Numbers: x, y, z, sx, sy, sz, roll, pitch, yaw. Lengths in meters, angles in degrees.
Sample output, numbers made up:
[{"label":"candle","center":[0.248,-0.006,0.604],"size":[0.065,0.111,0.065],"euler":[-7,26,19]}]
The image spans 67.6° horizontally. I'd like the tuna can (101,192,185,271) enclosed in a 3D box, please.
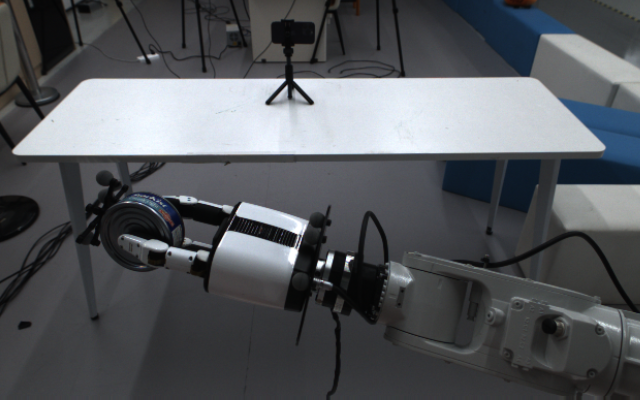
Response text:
[{"label":"tuna can","center":[-0.195,0.036,0.538],"size":[0.085,0.085,0.034],"euler":[6,20,6]}]
